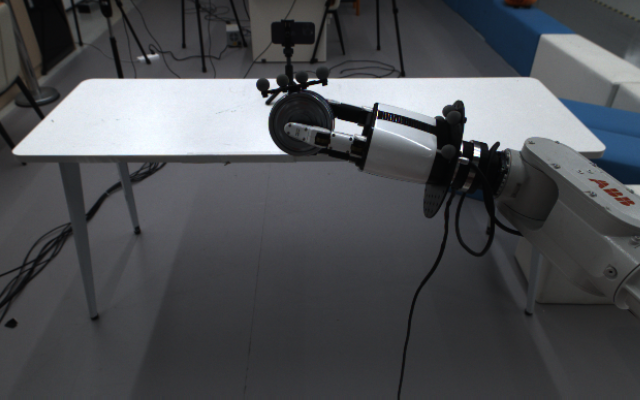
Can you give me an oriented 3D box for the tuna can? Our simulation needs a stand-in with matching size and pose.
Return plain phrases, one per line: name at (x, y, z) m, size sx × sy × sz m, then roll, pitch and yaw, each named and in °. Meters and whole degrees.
tuna can at (-0.021, -0.096, 0.637) m, size 0.085 × 0.085 × 0.034 m, roll 6°, pitch 18°, yaw 5°
